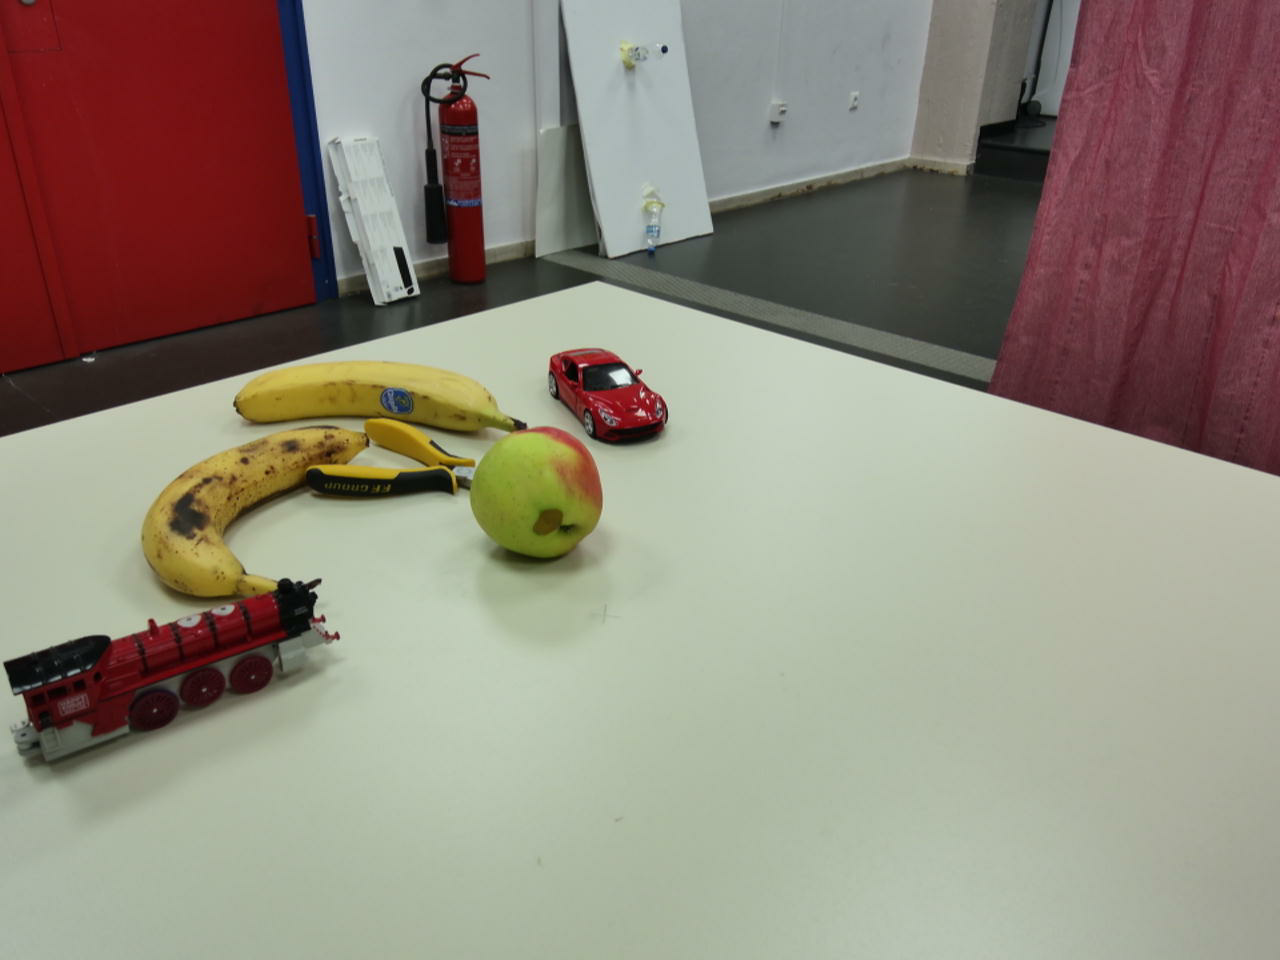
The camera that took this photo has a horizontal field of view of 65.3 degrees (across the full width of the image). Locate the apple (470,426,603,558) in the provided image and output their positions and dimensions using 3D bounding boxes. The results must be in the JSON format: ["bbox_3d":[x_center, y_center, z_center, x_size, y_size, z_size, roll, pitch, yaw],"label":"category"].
[{"bbox_3d":[-0.058,0.006,0.579,0.075,0.074,0.075,11,27,20],"label":"apple"}]
